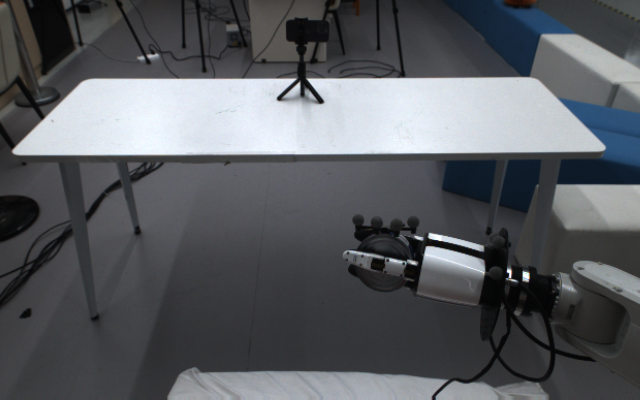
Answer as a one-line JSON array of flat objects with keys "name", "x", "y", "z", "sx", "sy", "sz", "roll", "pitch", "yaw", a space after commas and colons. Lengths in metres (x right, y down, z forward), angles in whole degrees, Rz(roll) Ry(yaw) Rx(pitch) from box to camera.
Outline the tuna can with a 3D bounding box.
[{"name": "tuna can", "x": 0.096, "y": 0.088, "z": 0.704, "sx": 0.085, "sy": 0.085, "sz": 0.034, "roll": 13, "pitch": 7, "yaw": 15}]
